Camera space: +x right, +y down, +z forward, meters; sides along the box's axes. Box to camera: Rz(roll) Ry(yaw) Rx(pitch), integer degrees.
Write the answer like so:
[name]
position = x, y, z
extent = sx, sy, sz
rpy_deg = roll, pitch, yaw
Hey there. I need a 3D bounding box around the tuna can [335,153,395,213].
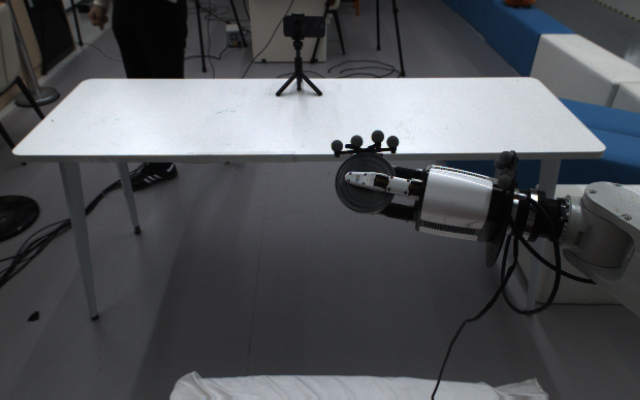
[tuna can]
position = 0.066, -0.023, 0.686
extent = 0.085, 0.085, 0.034
rpy_deg = 10, -6, 11
